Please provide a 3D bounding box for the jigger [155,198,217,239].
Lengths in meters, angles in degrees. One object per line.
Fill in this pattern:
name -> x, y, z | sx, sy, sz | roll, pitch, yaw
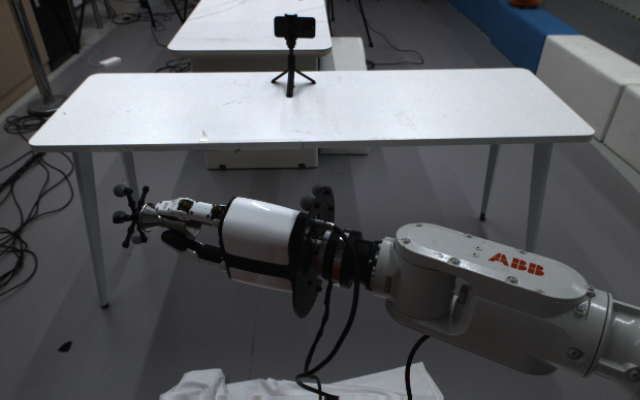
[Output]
jigger -> -0.189, 0.024, 0.636 | 0.071, 0.043, 0.043 | 5, 35, 13
